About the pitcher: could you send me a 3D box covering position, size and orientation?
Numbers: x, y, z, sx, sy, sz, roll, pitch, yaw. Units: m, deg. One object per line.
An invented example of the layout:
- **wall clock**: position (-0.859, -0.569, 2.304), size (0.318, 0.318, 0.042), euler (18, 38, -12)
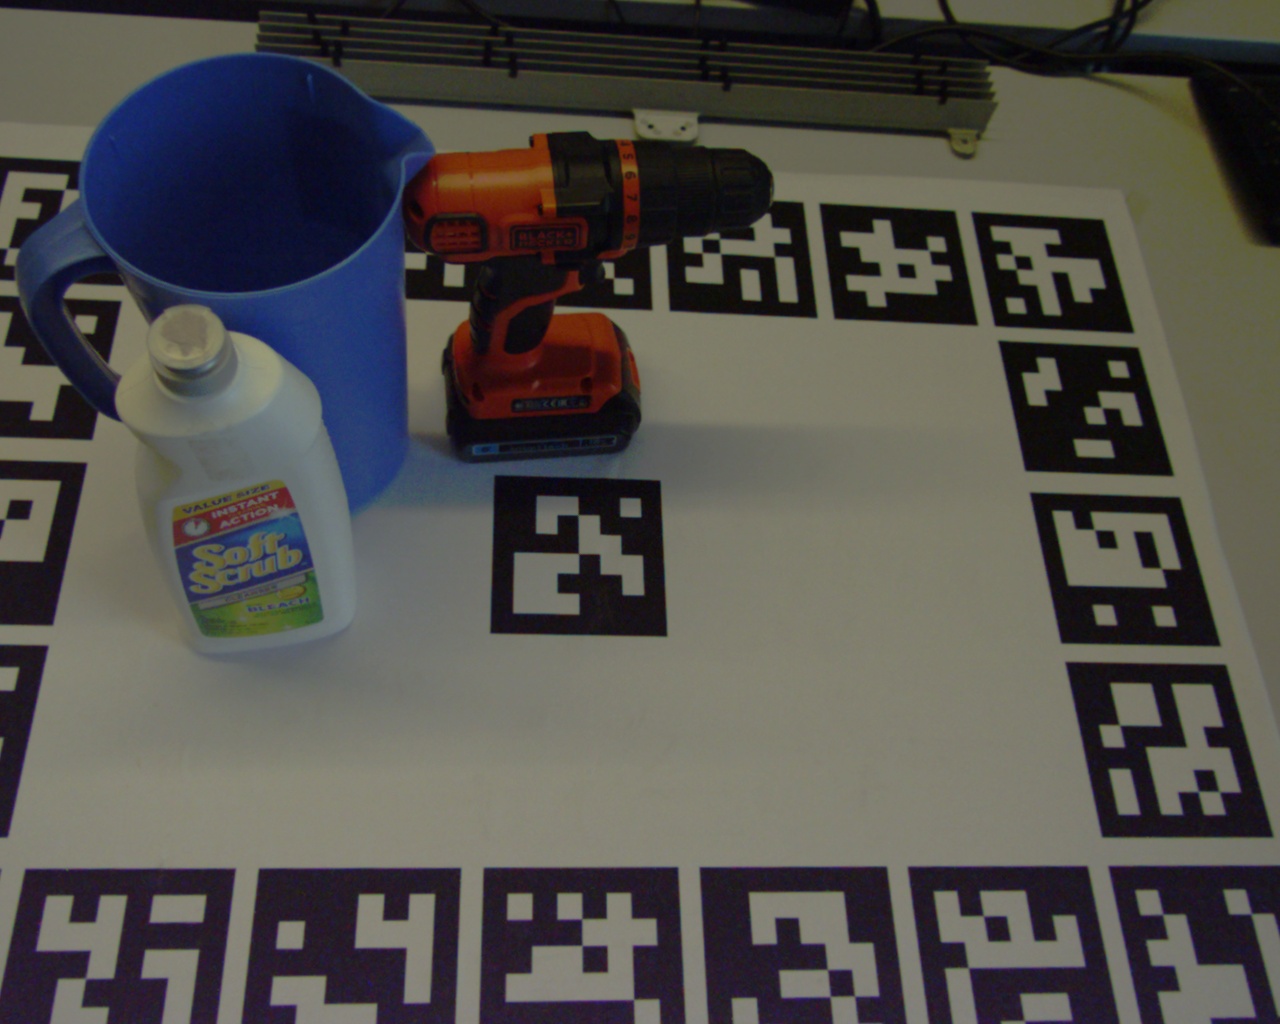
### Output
- **pitcher**: position (-0.191, -0.103, 0.605), size (0.187, 0.243, 0.134), euler (-24, 72, -17)

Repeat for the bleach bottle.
- **bleach bottle**: position (-0.198, -0.019, 0.542), size (0.102, 0.251, 0.068), euler (-5, 66, -9)

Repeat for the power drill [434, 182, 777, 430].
- **power drill**: position (-0.027, -0.110, 0.638), size (0.183, 0.187, 0.057), euler (-1, 68, -14)
